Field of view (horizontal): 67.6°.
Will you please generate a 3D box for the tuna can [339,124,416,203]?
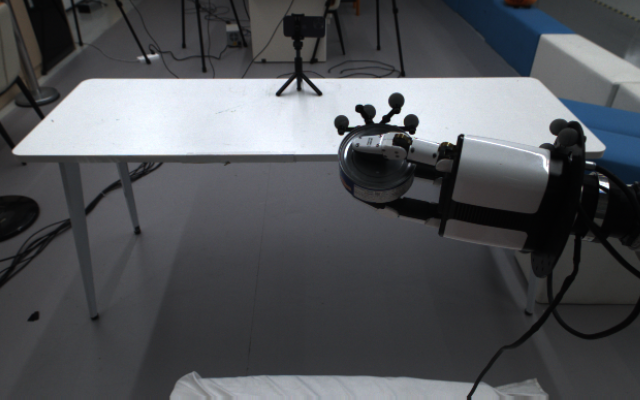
[{"bbox_3d":[0.063,-0.041,0.530,0.085,0.034,0.085,-2,58,3],"label":"tuna can"}]
